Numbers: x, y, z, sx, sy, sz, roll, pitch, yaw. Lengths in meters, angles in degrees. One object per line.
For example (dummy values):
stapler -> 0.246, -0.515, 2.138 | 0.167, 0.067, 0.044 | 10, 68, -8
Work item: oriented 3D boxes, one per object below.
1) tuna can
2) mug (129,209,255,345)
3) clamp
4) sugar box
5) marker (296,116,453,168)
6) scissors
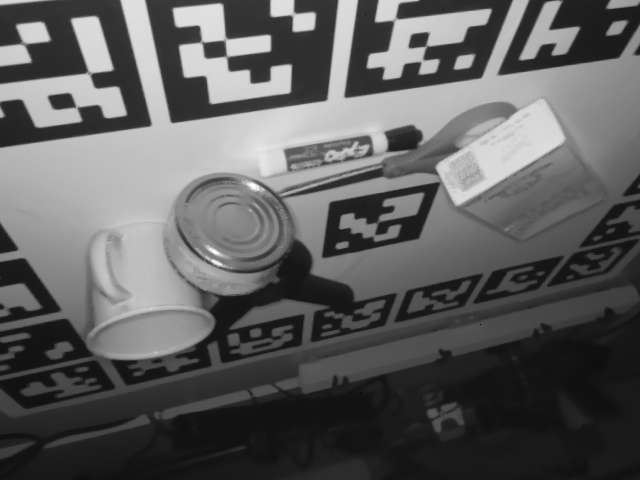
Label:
tuna can -> -0.050, -0.012, 0.518 | 0.087, 0.086, 0.033 | 0, 144, -24
mug -> -0.111, 0.024, 0.553 | 0.092, 0.081, 0.118 | -25, 150, 13
clamp -> -0.033, 0.036, 0.661 | 0.166, 0.037, 0.202 | -16, 146, -1
sugar box -> 0.193, -0.051, 0.599 | 0.092, 0.045, 0.178 | -31, 151, 21
marker -> 0.043, -0.075, 0.528 | 0.122, 0.020, 0.019 | -12, 146, -8
scissors -> 0.086, -0.058, 0.569 | 0.203, 0.016, 0.087 | -15, 151, -1
